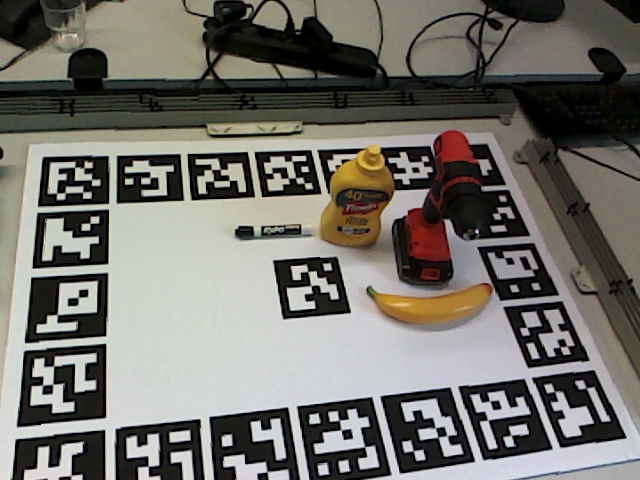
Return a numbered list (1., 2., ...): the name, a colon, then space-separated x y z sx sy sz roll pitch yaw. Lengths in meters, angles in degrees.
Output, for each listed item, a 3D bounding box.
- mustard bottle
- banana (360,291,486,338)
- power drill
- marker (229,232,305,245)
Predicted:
1. mustard bottle: 0.053 -0.051 0.943 0.096 0.191 0.058 6 54 -7
2. banana: 0.160 0.113 0.942 0.197 0.039 0.074 2 56 -6
3. power drill: 0.169 -0.014 0.916 0.057 0.187 0.185 9 51 -6
4. marker: -0.084 -0.002 0.991 0.121 0.019 0.020 -2 56 -11
